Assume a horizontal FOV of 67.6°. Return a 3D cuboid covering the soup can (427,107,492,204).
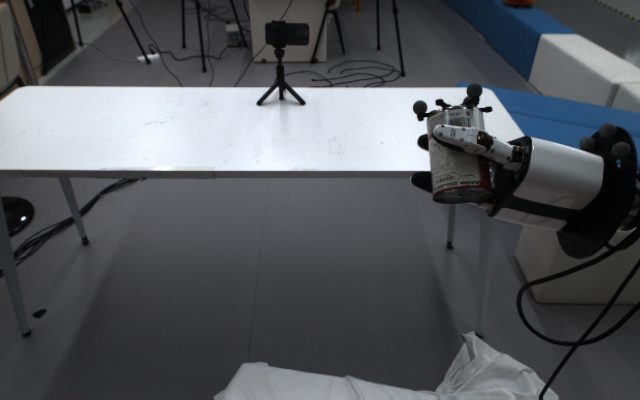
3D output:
[{"bbox_3d":[0.163,-0.055,0.572,0.067,0.067,0.101,0,75,-3],"label":"soup can"}]
